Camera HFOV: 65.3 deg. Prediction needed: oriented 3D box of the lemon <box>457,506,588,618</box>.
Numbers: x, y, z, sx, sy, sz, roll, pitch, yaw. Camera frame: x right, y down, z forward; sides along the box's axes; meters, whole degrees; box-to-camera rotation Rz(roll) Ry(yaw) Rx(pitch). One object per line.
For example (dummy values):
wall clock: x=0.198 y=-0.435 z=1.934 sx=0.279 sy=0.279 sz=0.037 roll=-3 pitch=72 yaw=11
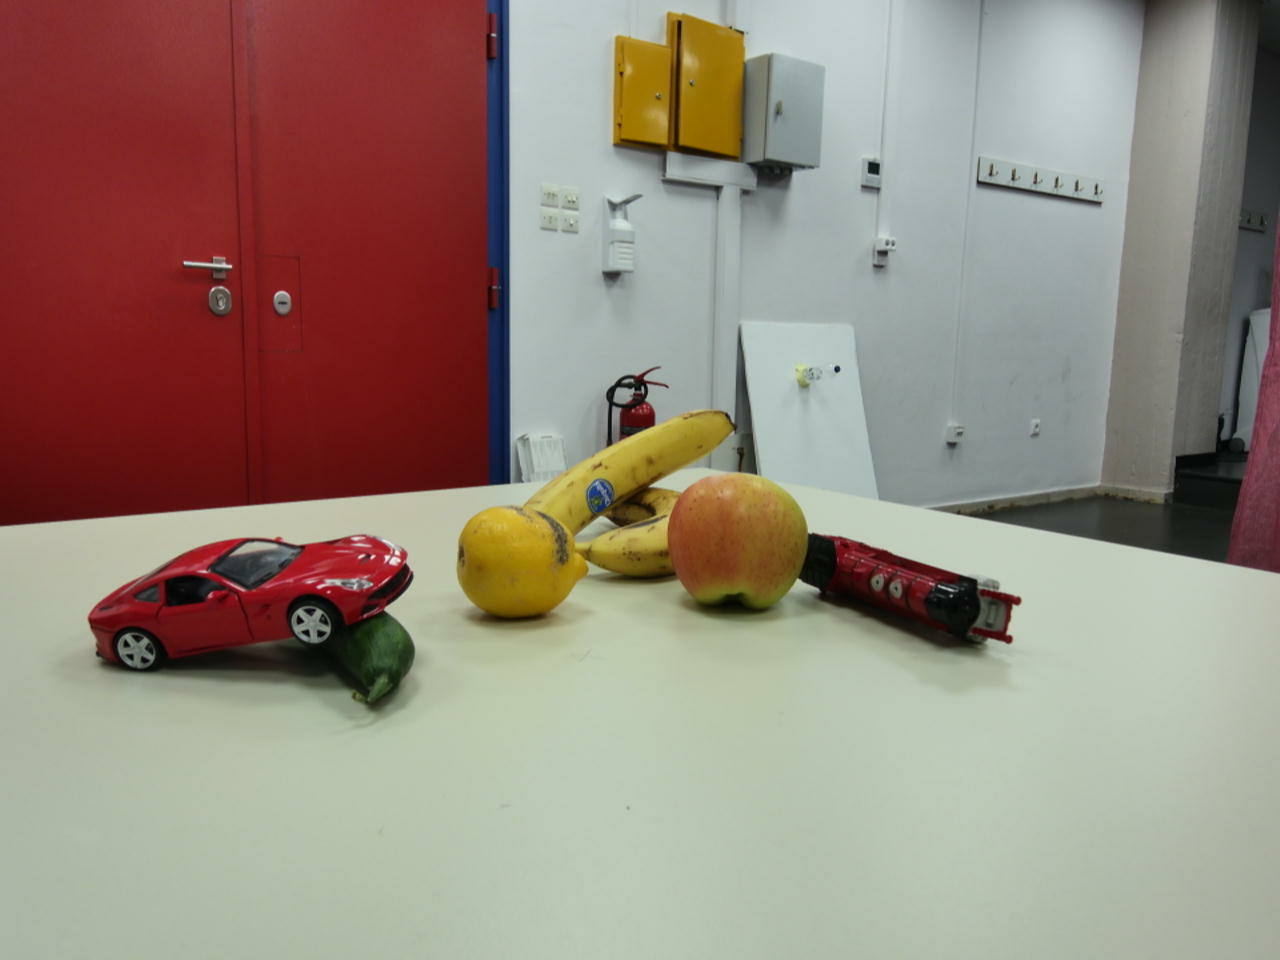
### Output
lemon: x=-0.063 y=0.041 z=0.506 sx=0.061 sy=0.056 sz=0.058 roll=-6 pitch=9 yaw=-44
